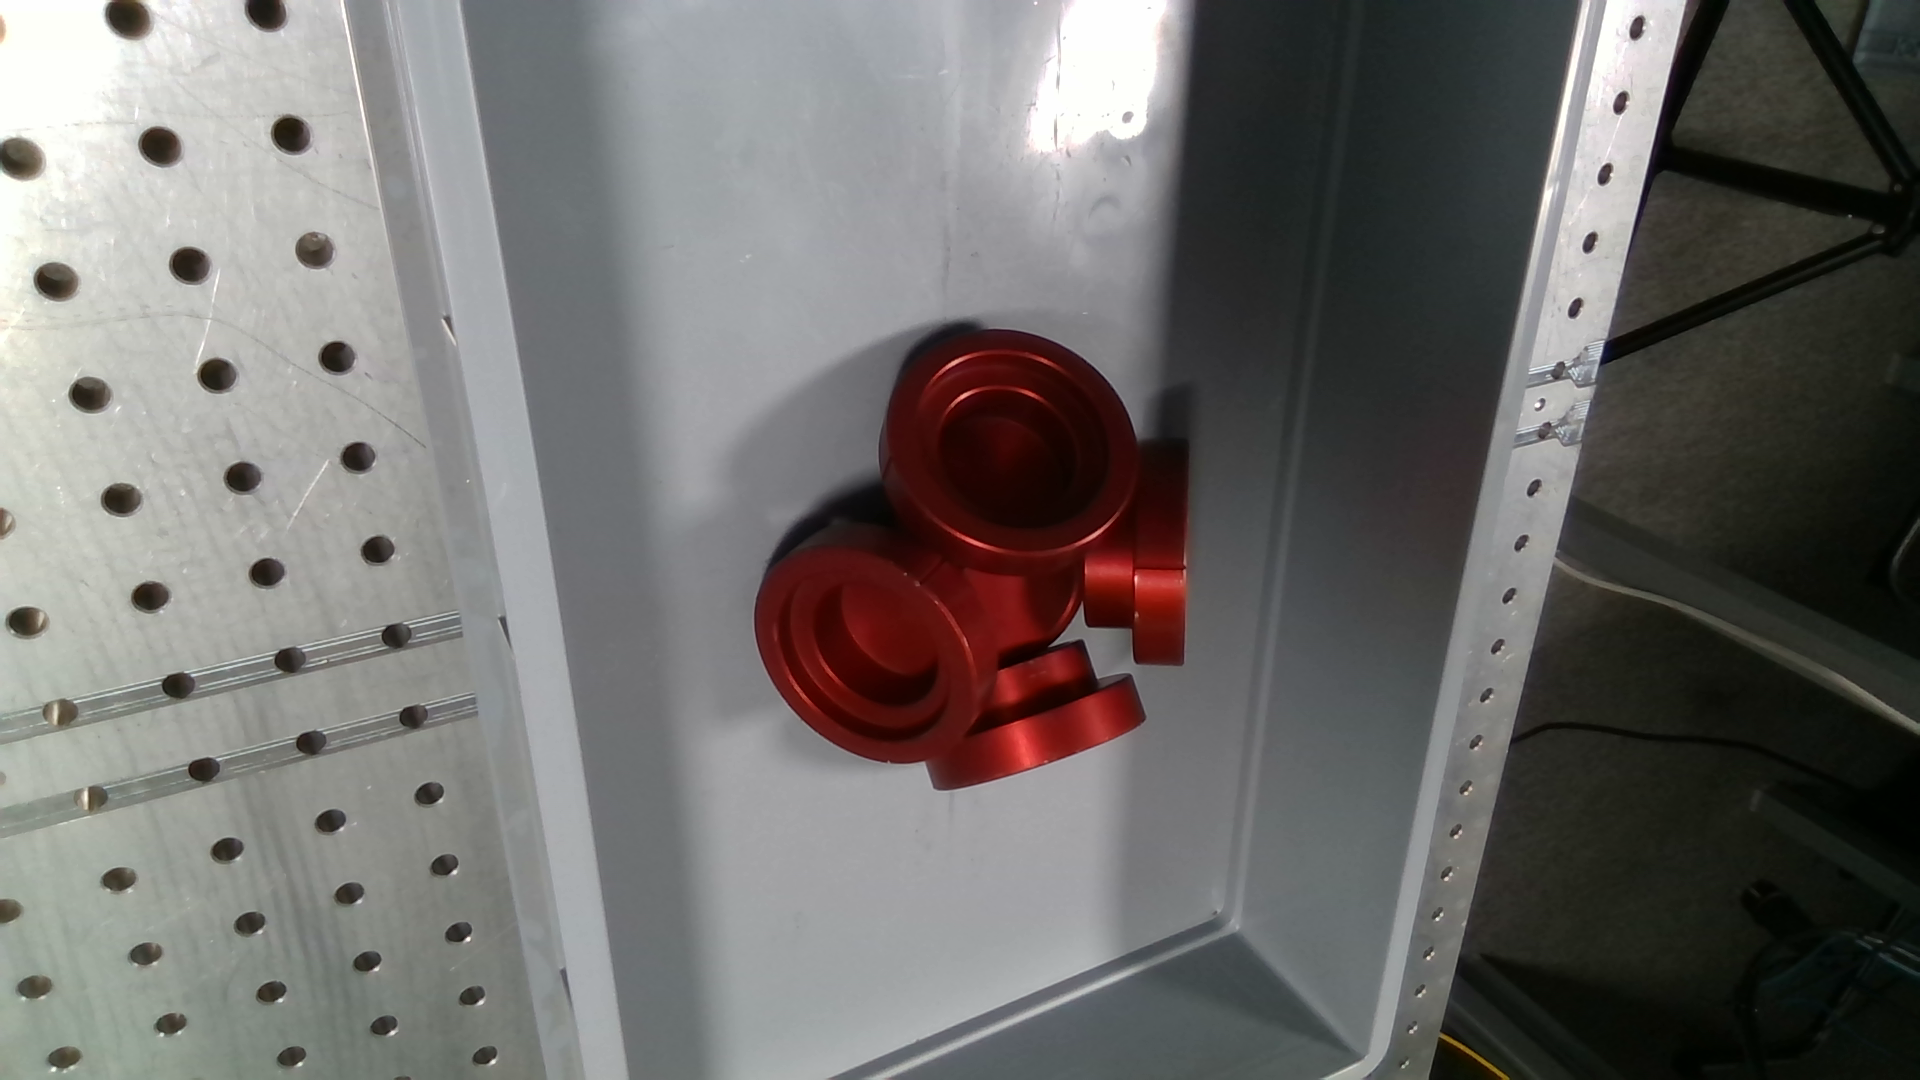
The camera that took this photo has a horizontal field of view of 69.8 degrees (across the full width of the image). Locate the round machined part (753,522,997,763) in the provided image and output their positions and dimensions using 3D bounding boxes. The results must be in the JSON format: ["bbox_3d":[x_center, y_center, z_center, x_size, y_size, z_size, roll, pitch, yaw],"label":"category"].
[{"bbox_3d":[-0.029,0.036,0.545,0.042,0.098,0.098,-46,142,-52],"label":"round machined part"}]

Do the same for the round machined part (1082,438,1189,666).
[{"bbox_3d":[0.076,0.004,0.593,0.042,0.098,0.098,2,121,10],"label":"round machined part"}]

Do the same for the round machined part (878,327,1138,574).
[{"bbox_3d":[0.016,-0.031,0.538,0.098,0.098,0.042,-20,161,-21],"label":"round machined part"}]

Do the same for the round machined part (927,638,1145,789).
[{"bbox_3d":[0.028,0.073,0.602,0.098,0.098,0.042,-17,86,-23],"label":"round machined part"}]

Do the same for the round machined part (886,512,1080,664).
[{"bbox_3d":[0.015,0.014,0.584,0.098,0.042,0.098,-14,122,-25],"label":"round machined part"}]
